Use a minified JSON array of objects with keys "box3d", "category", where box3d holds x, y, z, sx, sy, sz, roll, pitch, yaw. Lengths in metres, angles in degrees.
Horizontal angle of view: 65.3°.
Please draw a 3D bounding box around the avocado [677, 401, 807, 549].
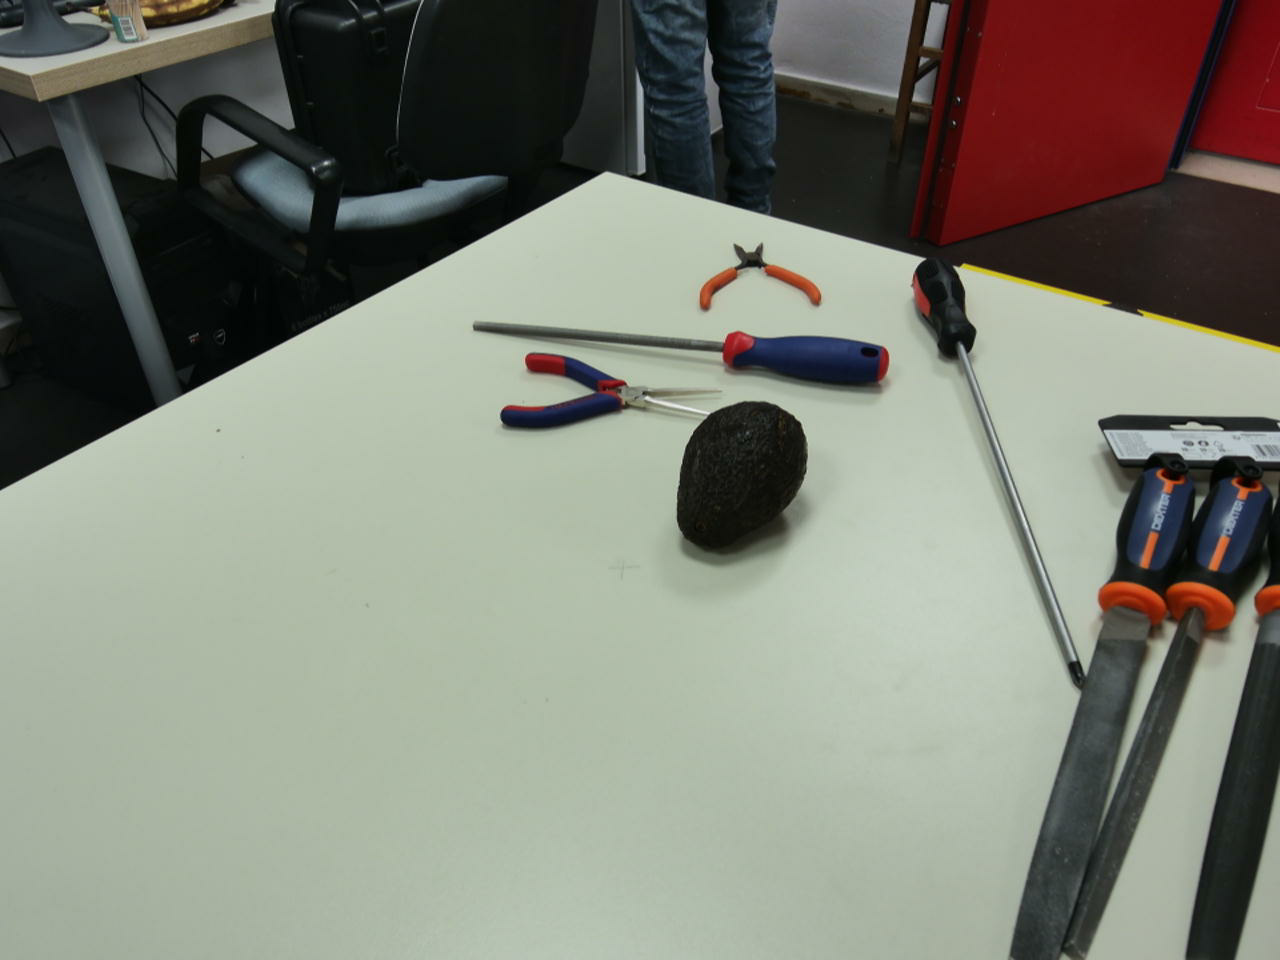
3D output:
[{"box3d":[0.056,-0.008,0.581,0.090,0.069,0.070,-18,41,-21],"category":"avocado"}]
